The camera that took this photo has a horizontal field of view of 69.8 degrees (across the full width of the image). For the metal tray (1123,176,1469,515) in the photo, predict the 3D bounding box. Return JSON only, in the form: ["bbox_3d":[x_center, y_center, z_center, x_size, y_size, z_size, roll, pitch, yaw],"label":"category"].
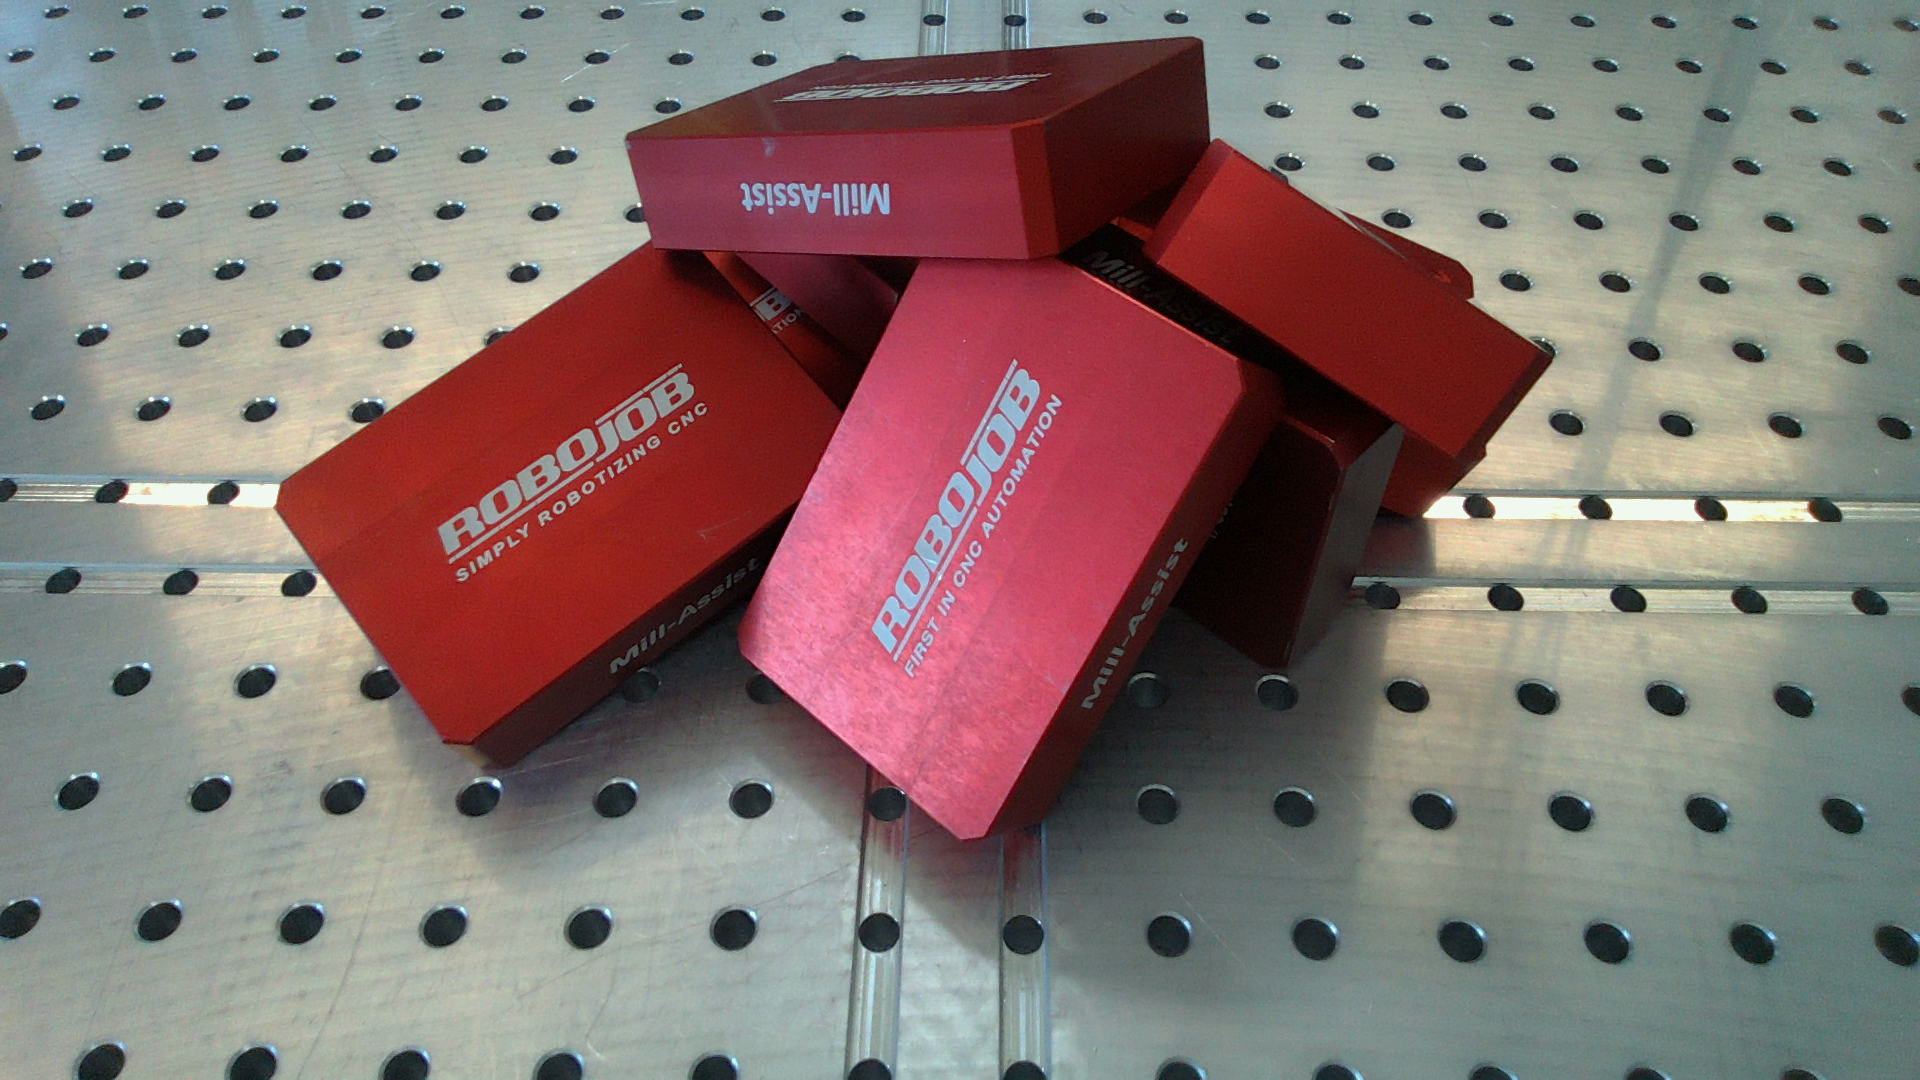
[{"bbox_3d":[0.093,-0.070,0.421,0.130,0.030,0.090,21,50,-9],"label":"metal tray"}]

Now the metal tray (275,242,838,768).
[{"bbox_3d":[-0.101,-0.013,0.373,0.130,0.030,0.090,-38,75,-14],"label":"metal tray"}]

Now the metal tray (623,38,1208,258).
[{"bbox_3d":[-0.012,-0.104,0.364,0.129,0.030,0.090,9,33,34],"label":"metal tray"}]

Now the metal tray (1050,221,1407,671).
[{"bbox_3d":[0.053,-0.032,0.380,0.130,0.090,0.030,37,59,28],"label":"metal tray"}]

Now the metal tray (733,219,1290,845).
[{"bbox_3d":[0.008,-0.004,0.337,0.090,0.130,0.030,36,17,26],"label":"metal tray"}]

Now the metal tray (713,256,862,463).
[{"bbox_3d":[-0.078,-0.045,0.428,0.090,0.030,0.130,32,56,24],"label":"metal tray"}]

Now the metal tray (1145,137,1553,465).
[{"bbox_3d":[0.100,-0.070,0.368,0.090,0.030,0.130,34,20,1],"label":"metal tray"}]

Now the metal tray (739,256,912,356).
[{"bbox_3d":[-0.003,-0.107,0.457,0.130,0.030,0.090,-26,55,-38],"label":"metal tray"}]
